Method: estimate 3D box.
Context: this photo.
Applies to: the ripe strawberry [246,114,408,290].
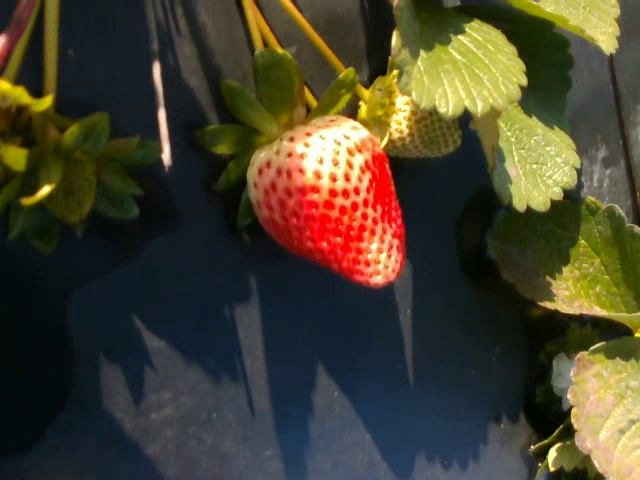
[{"bbox_3d":[0.004,-0.007,0.130,0.042,0.037,0.045,-4,46,-47],"label":"ripe strawberry"}]
